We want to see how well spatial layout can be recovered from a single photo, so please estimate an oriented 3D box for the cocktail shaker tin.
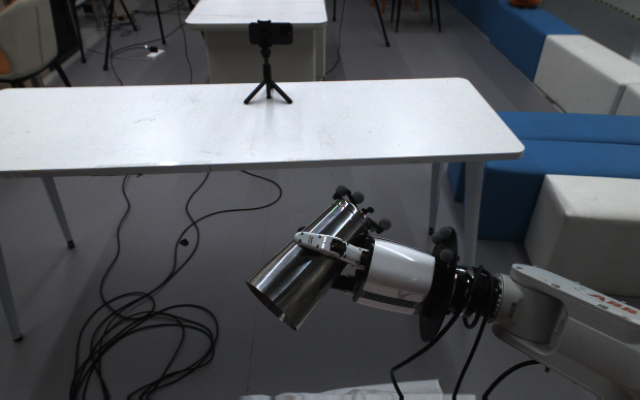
[{"bbox_3d":[-0.007,0.075,0.651,0.093,0.093,0.170,31,65,35],"label":"cocktail shaker tin"}]
